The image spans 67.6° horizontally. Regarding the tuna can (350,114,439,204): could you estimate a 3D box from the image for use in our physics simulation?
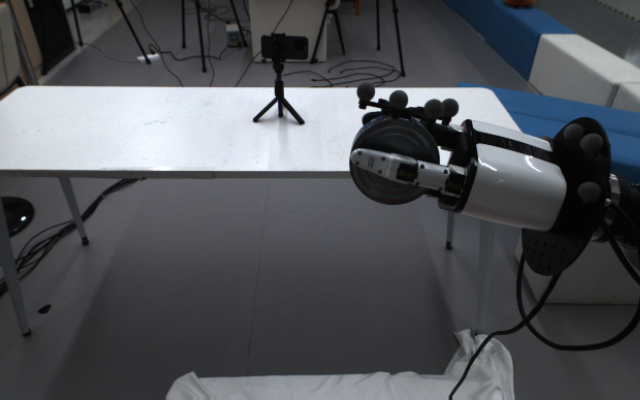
[{"bbox_3d":[0.074,-0.044,0.478,0.085,0.085,0.034,5,19,3],"label":"tuna can"}]
